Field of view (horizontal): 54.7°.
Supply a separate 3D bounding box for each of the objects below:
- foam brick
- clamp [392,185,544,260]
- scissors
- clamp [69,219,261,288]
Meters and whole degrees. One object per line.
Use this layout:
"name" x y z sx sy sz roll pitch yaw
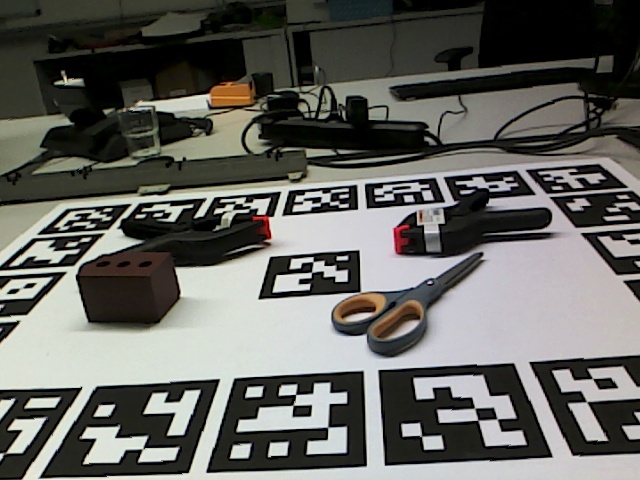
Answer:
"foam brick" -0.193 0.060 0.609 0.078 0.051 0.053 -6 26 13
"clamp" 0.152 -0.015 0.703 0.164 0.036 0.123 -18 34 -21
"scissors" 0.088 0.055 0.577 0.088 0.016 0.202 23 36 34
"clamp" -0.172 0.005 0.733 0.203 0.036 0.166 -6 22 0
